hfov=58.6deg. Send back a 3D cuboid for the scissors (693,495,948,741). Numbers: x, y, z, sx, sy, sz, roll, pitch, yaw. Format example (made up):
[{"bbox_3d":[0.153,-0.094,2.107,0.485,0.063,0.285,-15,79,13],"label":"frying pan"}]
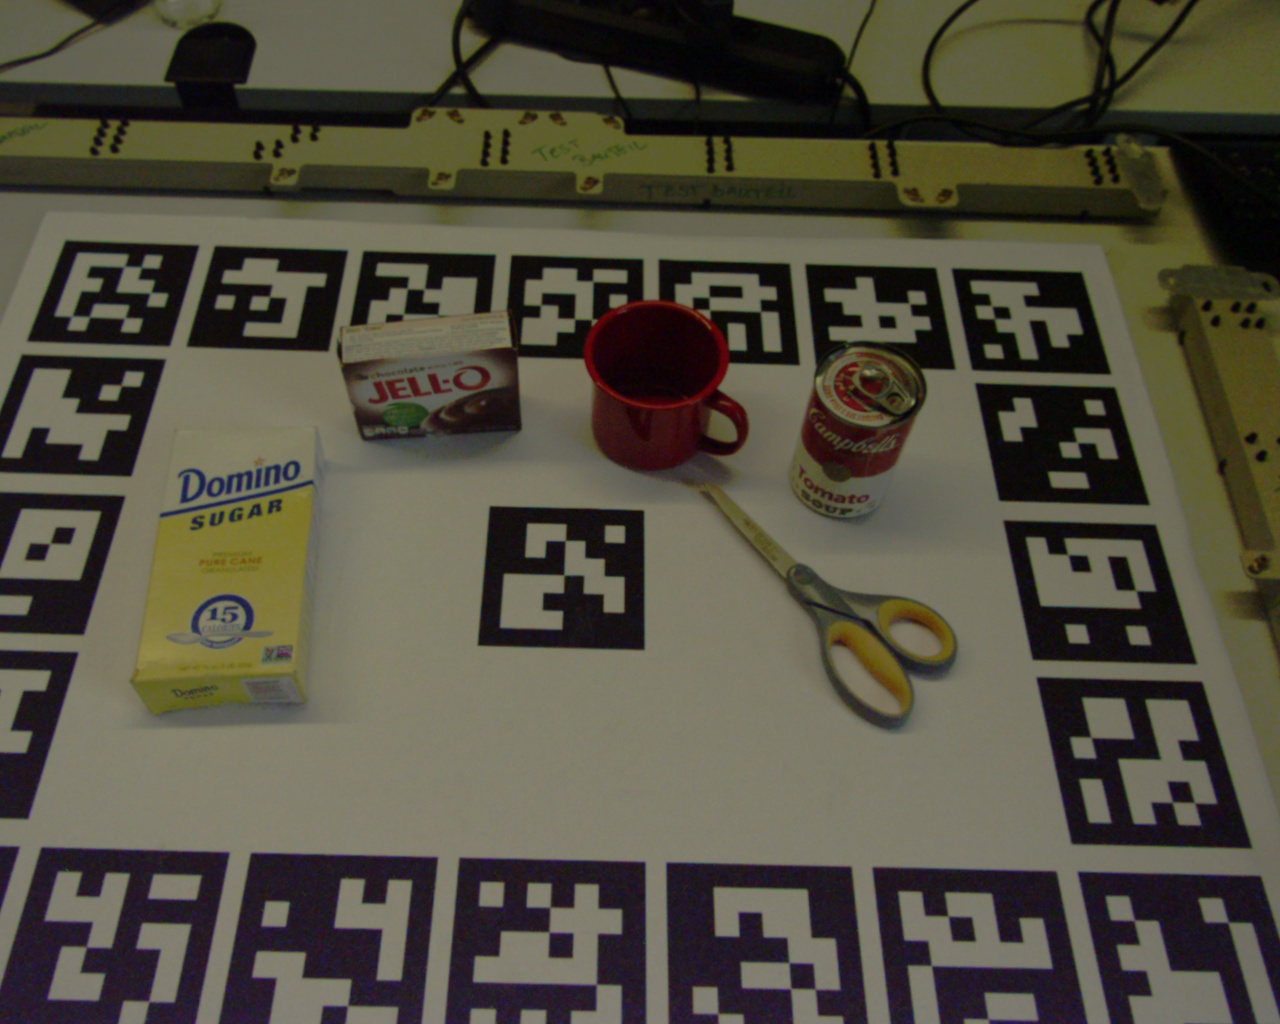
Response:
[{"bbox_3d":[0.108,0.054,0.745,0.087,0.016,0.204,-40,69,-12],"label":"scissors"}]

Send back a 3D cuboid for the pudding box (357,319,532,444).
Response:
[{"bbox_3d":[-0.131,-0.089,0.779,0.113,0.090,0.039,-6,66,-6],"label":"pudding box"}]

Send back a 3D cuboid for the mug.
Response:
[{"bbox_3d":[0.017,-0.081,0.787,0.093,0.081,0.118,-32,64,-16],"label":"mug"}]

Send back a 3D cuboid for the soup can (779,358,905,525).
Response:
[{"bbox_3d":[0.133,-0.045,0.766,0.068,0.102,0.068,0,58,-1],"label":"soup can"}]

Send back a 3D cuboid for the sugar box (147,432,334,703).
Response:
[{"bbox_3d":[-0.253,0.032,0.737,0.093,0.045,0.177,-2,61,-1],"label":"sugar box"}]
